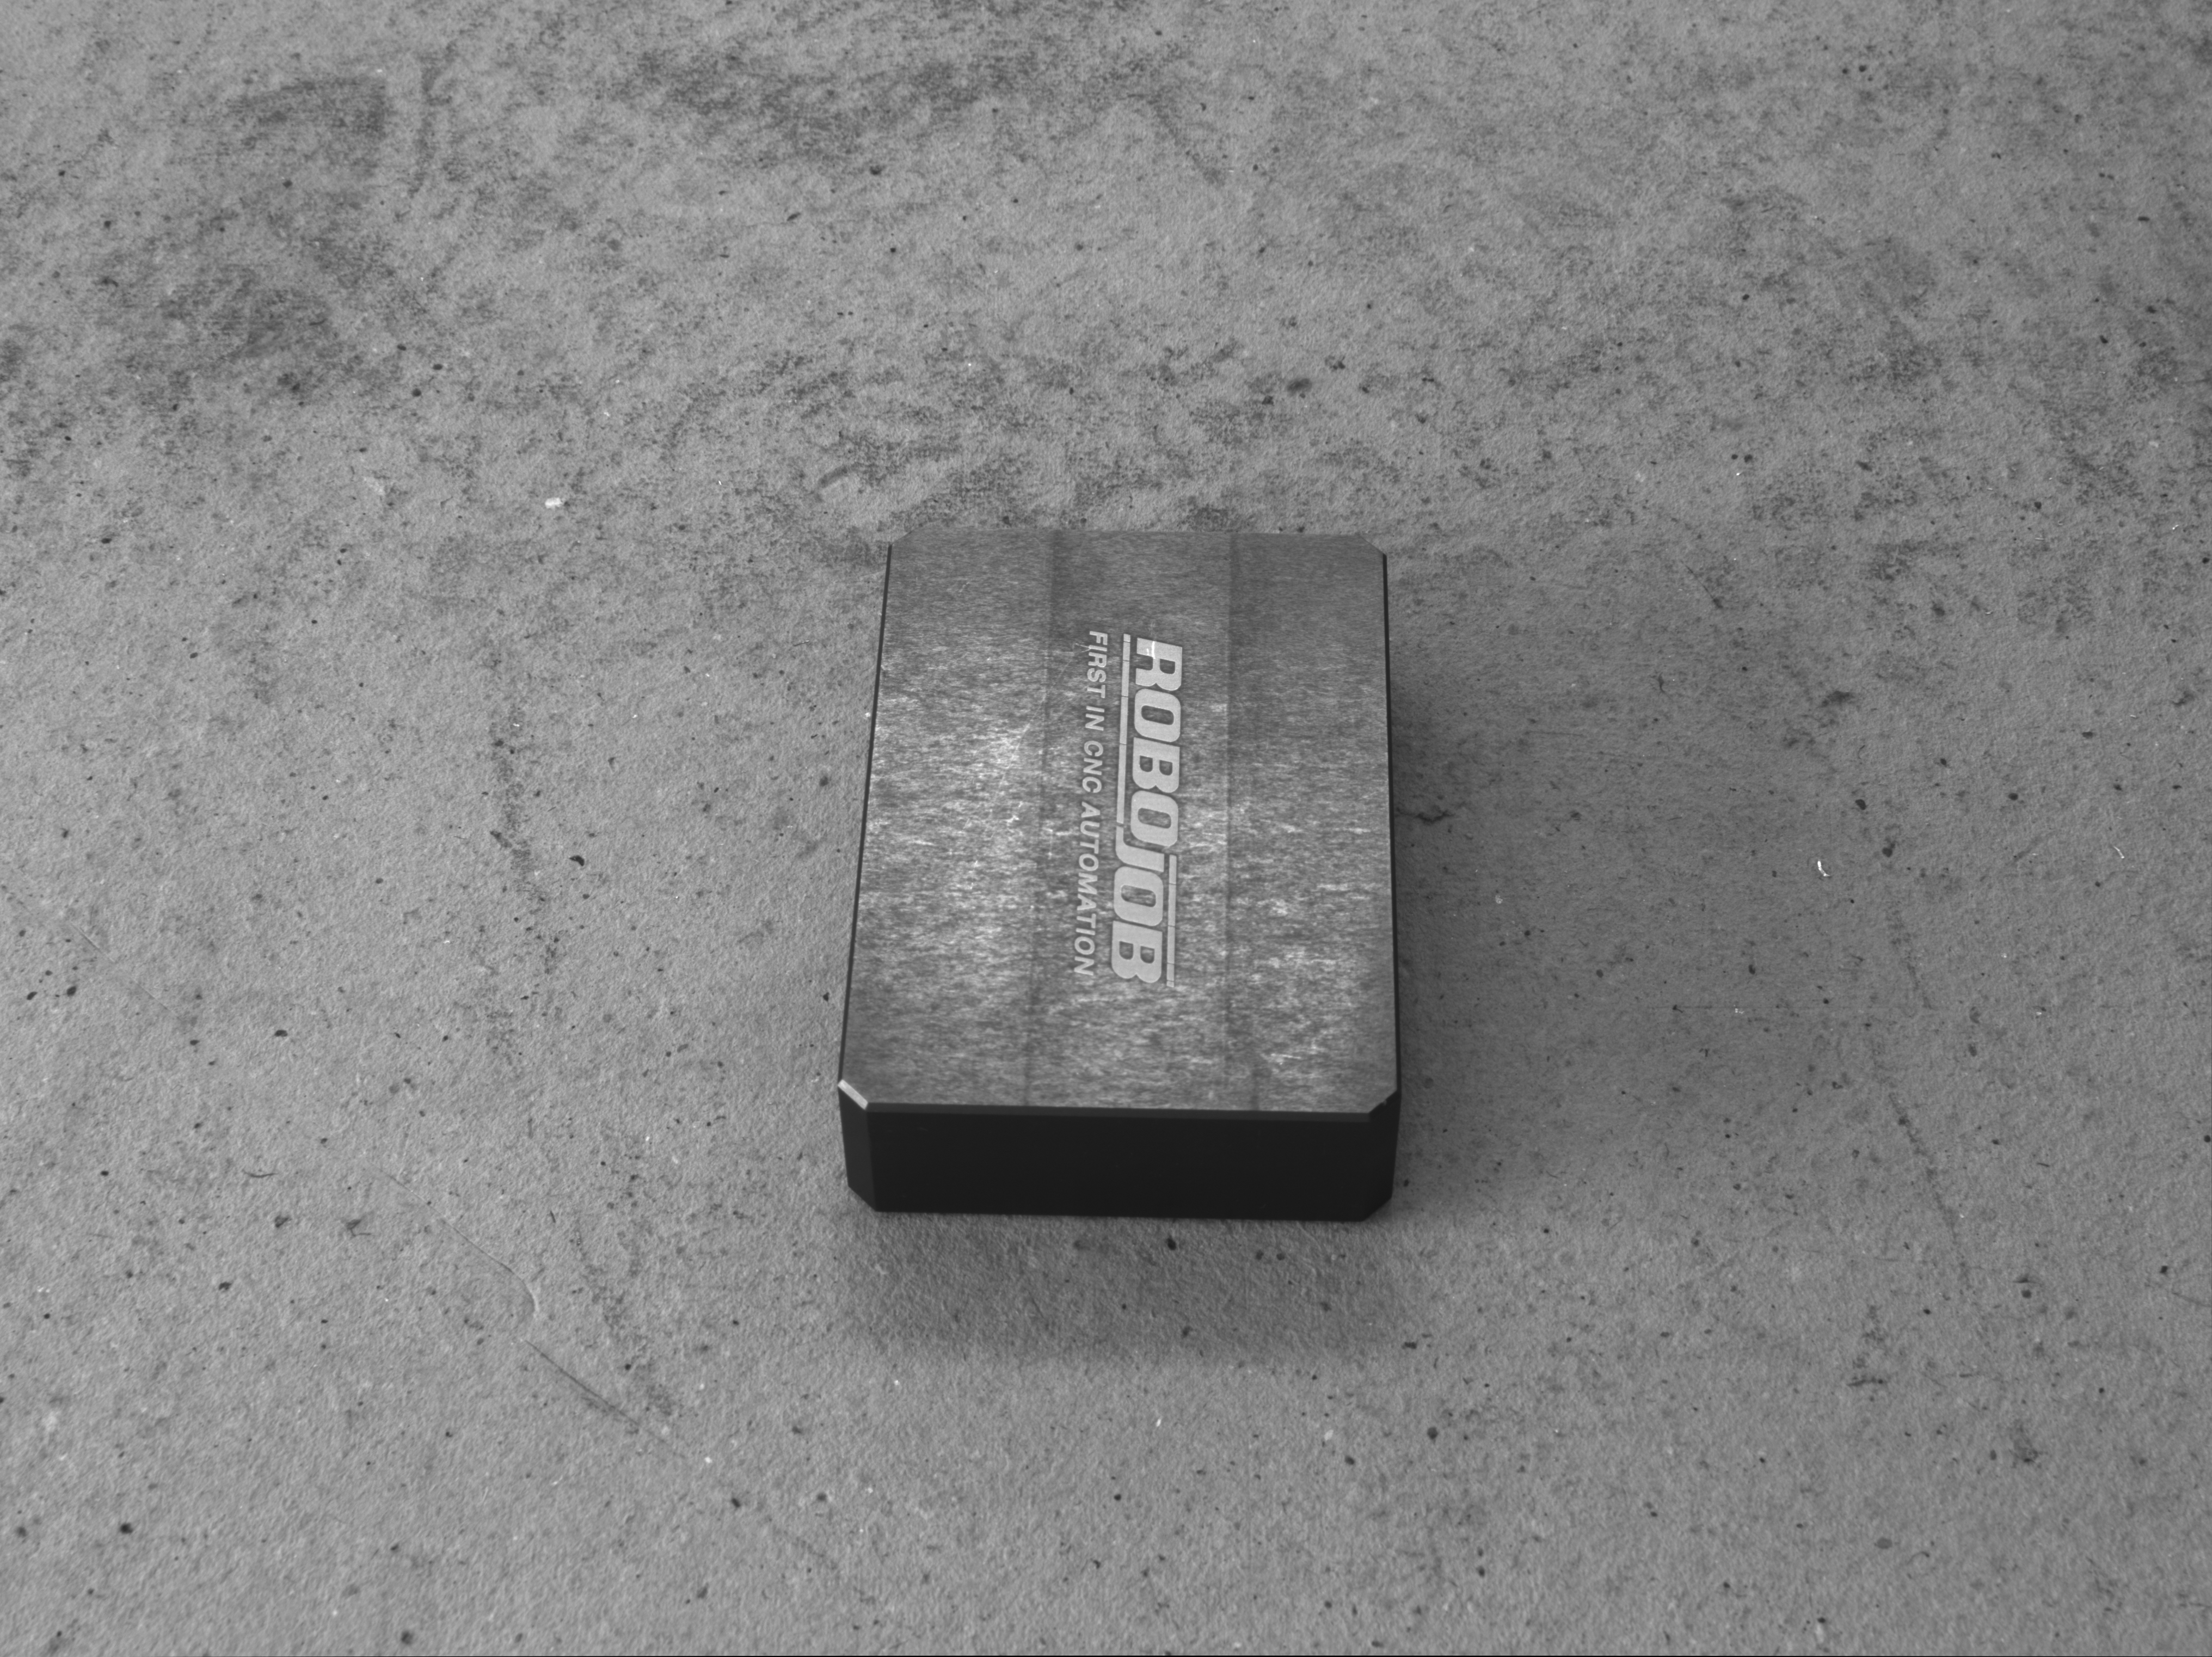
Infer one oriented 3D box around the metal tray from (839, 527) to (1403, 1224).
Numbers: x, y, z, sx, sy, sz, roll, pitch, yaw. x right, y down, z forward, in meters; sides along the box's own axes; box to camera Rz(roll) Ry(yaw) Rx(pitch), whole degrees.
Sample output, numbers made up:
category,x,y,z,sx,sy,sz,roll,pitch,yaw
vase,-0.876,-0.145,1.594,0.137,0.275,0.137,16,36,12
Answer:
category,x,y,z,sx,sy,sz,roll,pitch,yaw
metal tray,0.004,0.005,0.635,0.090,0.030,0.130,1,50,1
